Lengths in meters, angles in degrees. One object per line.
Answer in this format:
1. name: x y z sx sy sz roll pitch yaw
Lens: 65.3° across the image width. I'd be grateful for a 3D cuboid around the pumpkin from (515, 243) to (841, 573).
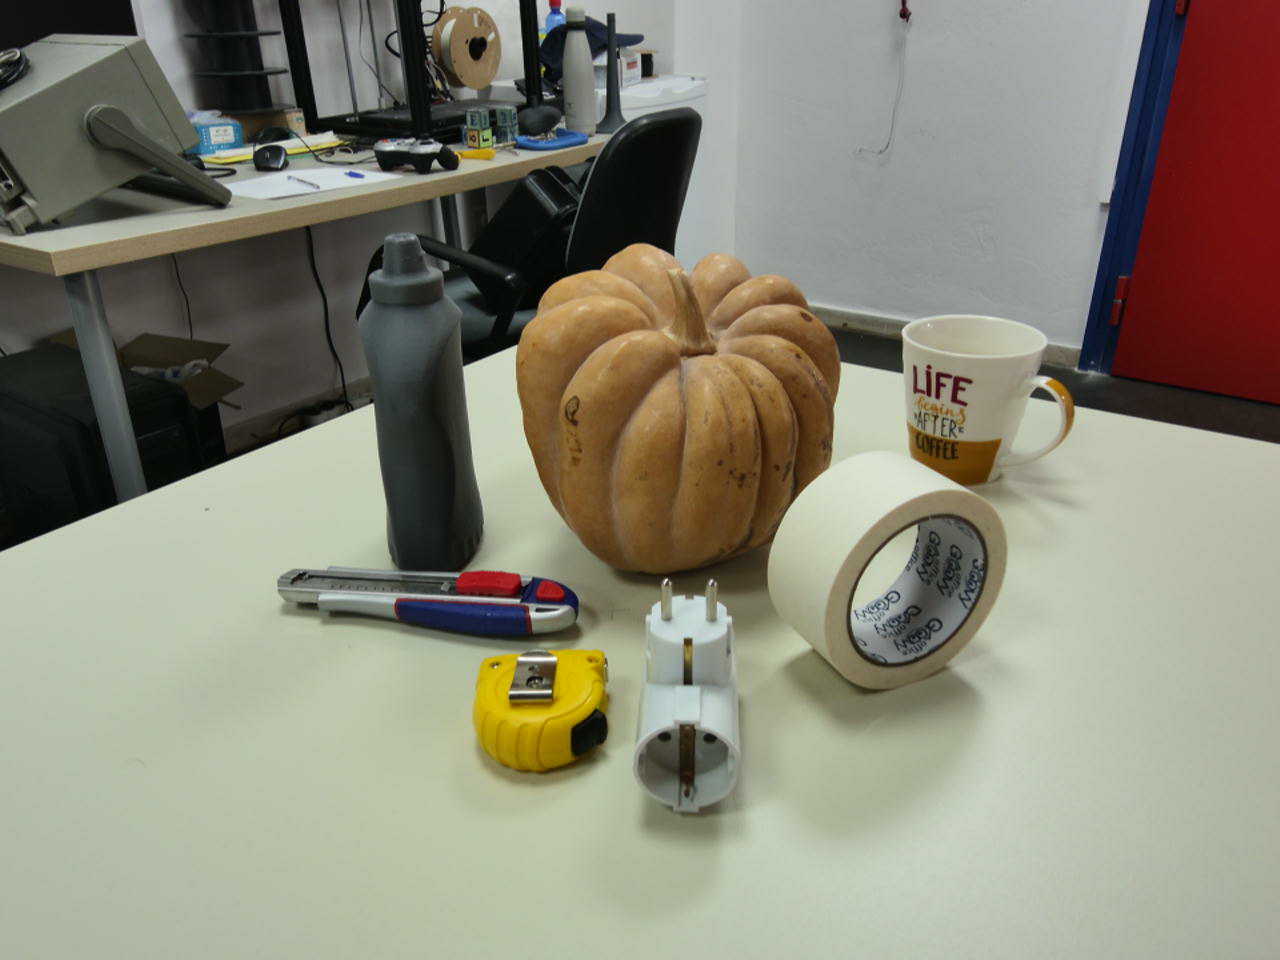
1. pumpkin: 0.021 -0.041 0.587 0.199 0.177 0.198 -1 25 0
